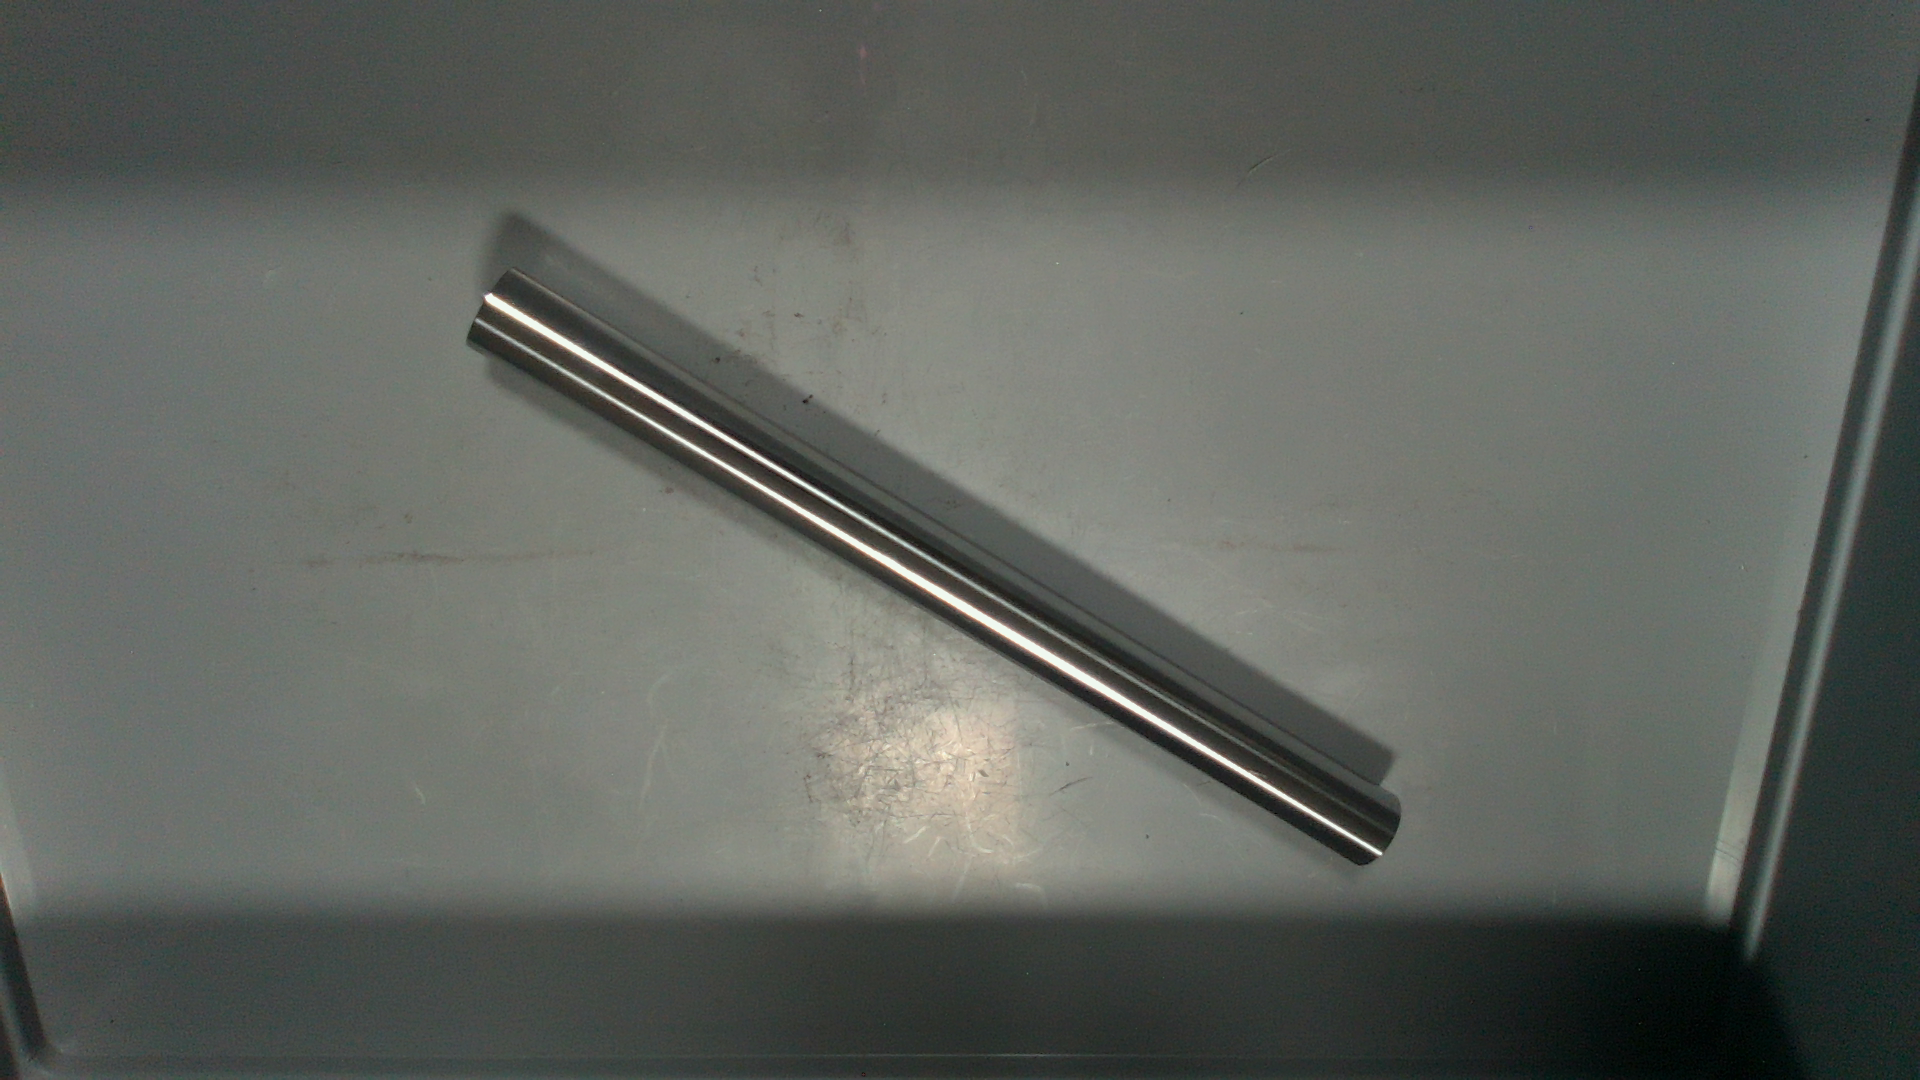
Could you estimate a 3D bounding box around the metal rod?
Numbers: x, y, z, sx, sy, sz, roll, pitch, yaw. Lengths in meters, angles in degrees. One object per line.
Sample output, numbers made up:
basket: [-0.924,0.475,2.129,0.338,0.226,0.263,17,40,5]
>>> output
metal rod: [0.001,0.013,0.397,0.300,0.025,0.025,31,107,-11]
